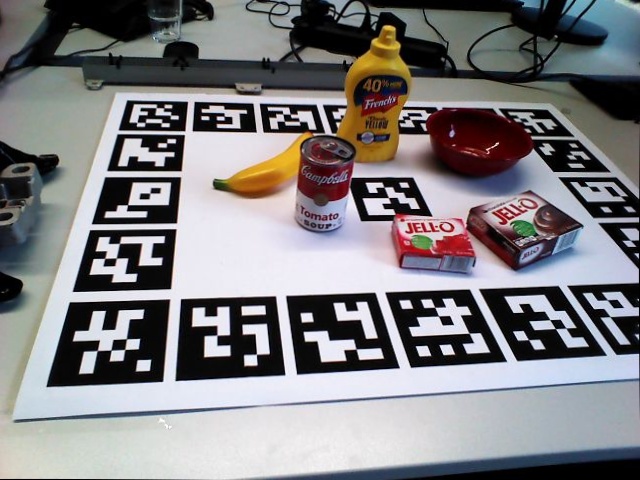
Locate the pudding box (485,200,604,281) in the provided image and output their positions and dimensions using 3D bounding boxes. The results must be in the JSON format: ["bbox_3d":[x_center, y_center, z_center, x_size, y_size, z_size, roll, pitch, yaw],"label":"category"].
[{"bbox_3d":[0.283,-0.003,0.658,0.113,0.039,0.090,-17,51,-26],"label":"pudding box"}]

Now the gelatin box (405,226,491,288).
[{"bbox_3d":[0.151,0.019,0.620,0.089,0.030,0.073,4,43,-3],"label":"gelatin box"}]

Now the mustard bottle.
[{"bbox_3d":[0.105,-0.202,0.733,0.096,0.192,0.058,0,38,-9],"label":"mustard bottle"}]

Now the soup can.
[{"bbox_3d":[0.015,-0.067,0.633,0.068,0.102,0.067,5,38,-5],"label":"soup can"}]

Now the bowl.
[{"bbox_3d":[0.268,-0.128,0.798,0.162,0.055,0.161,3,39,-3],"label":"bowl"}]

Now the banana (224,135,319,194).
[{"bbox_3d":[-0.044,-0.108,0.737,0.074,0.039,0.196,20,40,30],"label":"banana"}]
